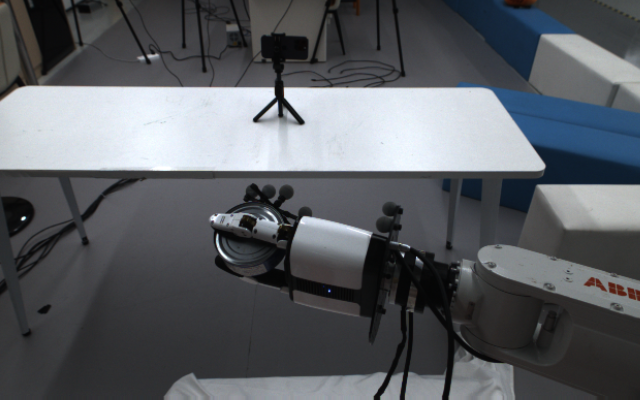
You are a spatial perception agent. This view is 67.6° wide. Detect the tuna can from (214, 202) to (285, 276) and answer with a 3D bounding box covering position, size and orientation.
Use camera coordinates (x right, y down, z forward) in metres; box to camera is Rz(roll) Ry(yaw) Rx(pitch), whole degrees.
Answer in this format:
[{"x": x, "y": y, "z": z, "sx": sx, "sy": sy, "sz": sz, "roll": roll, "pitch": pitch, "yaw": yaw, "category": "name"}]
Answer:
[{"x": -0.080, "y": 0.045, "z": 0.580, "sx": 0.085, "sy": 0.034, "sz": 0.085, "roll": -4, "pitch": 56, "yaw": 6, "category": "tuna can"}]
